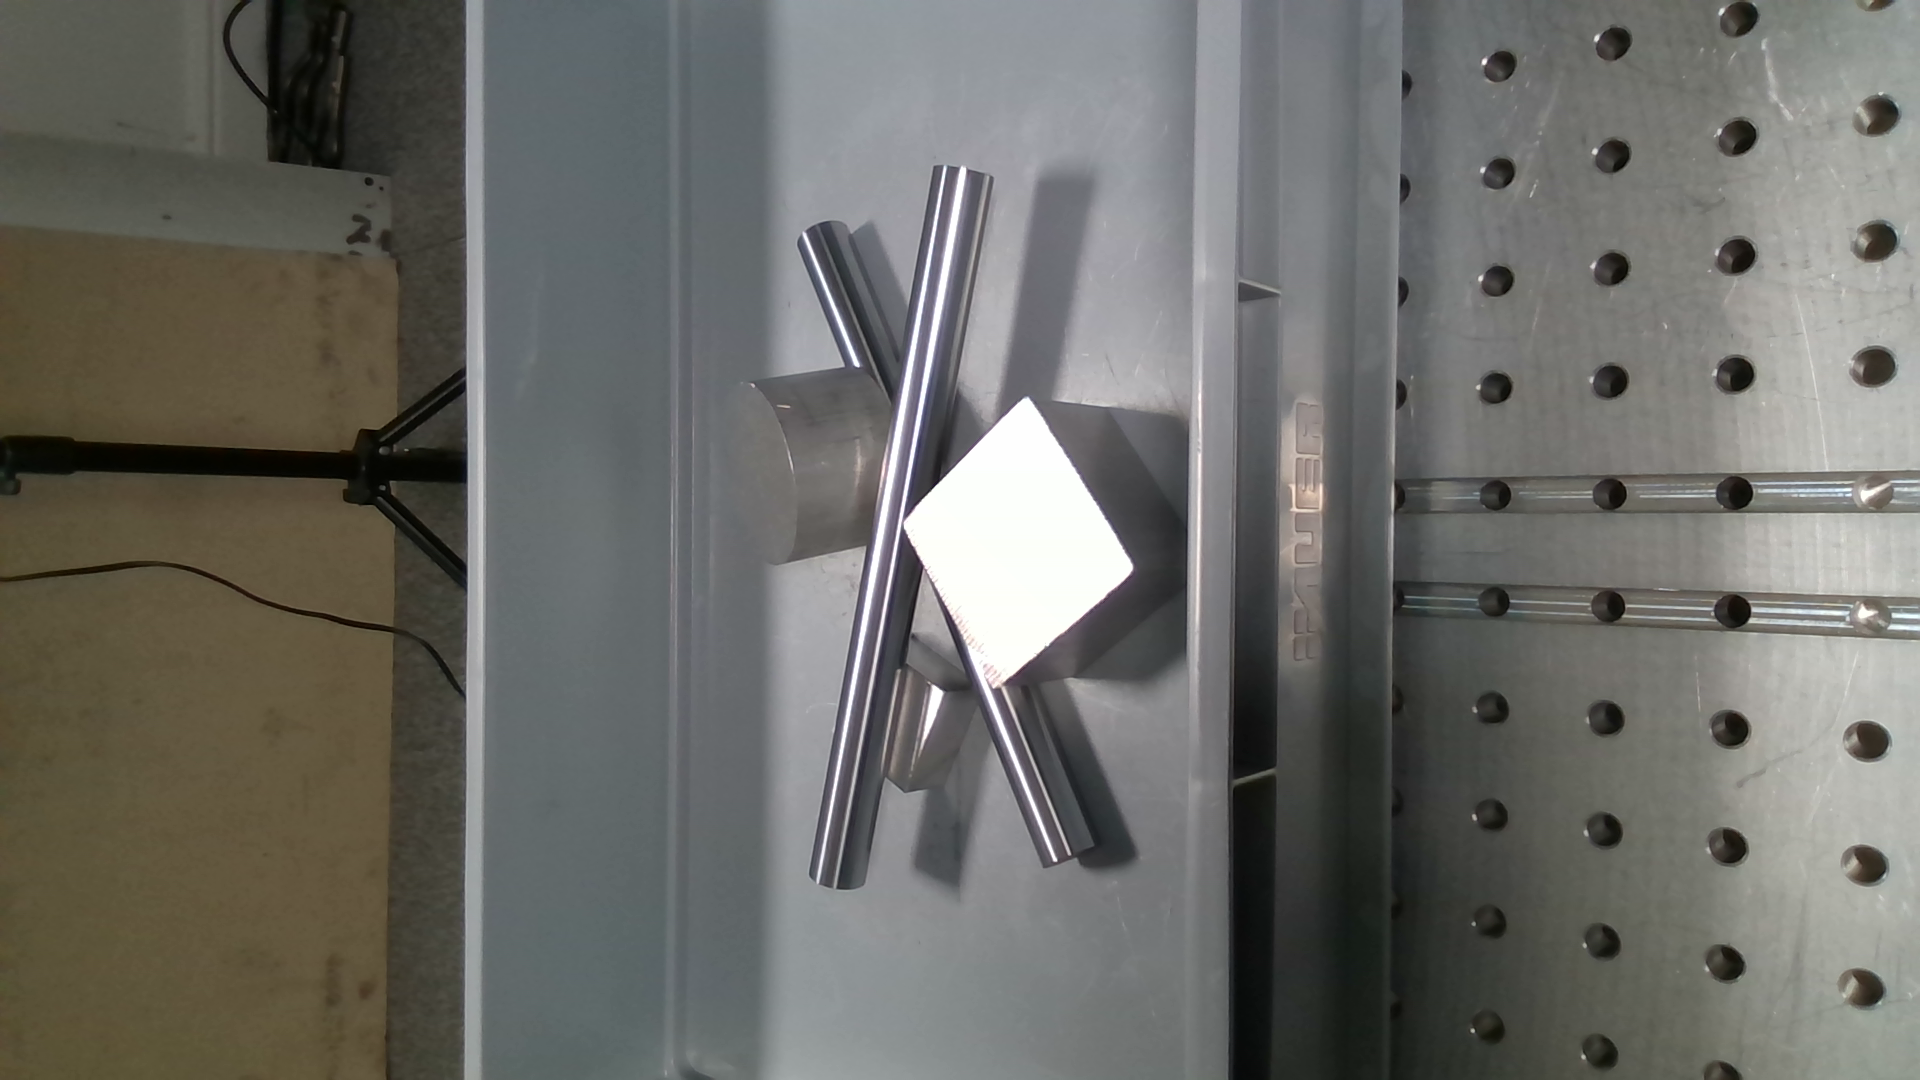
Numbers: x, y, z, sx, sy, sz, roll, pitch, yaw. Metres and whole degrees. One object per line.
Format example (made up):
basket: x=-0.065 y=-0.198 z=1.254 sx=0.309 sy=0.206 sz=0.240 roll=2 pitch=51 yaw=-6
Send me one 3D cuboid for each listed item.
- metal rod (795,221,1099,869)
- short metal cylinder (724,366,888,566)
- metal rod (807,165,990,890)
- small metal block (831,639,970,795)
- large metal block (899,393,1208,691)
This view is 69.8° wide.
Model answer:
metal rod: x=-0.010 y=-0.006 z=0.589 sx=0.025 sy=0.025 sz=0.299 roll=-35 pitch=69 yaw=35
short metal cylinder: x=-0.065 y=-0.033 z=0.601 sx=0.080 sy=0.050 sz=0.080 roll=35 pitch=131 yaw=52
metal rod: x=-0.027 y=0.000 z=0.570 sx=0.025 sy=0.025 sz=0.300 roll=18 pitch=102 yaw=39
small metal block: x=-0.025 y=0.075 z=0.600 sx=0.050 sy=0.025 sz=0.050 roll=33 pitch=111 yaw=35
large metal block: x=0.034 y=0.001 z=0.534 sx=0.080 sy=0.050 sz=0.080 roll=-44 pitch=64 yaw=32
